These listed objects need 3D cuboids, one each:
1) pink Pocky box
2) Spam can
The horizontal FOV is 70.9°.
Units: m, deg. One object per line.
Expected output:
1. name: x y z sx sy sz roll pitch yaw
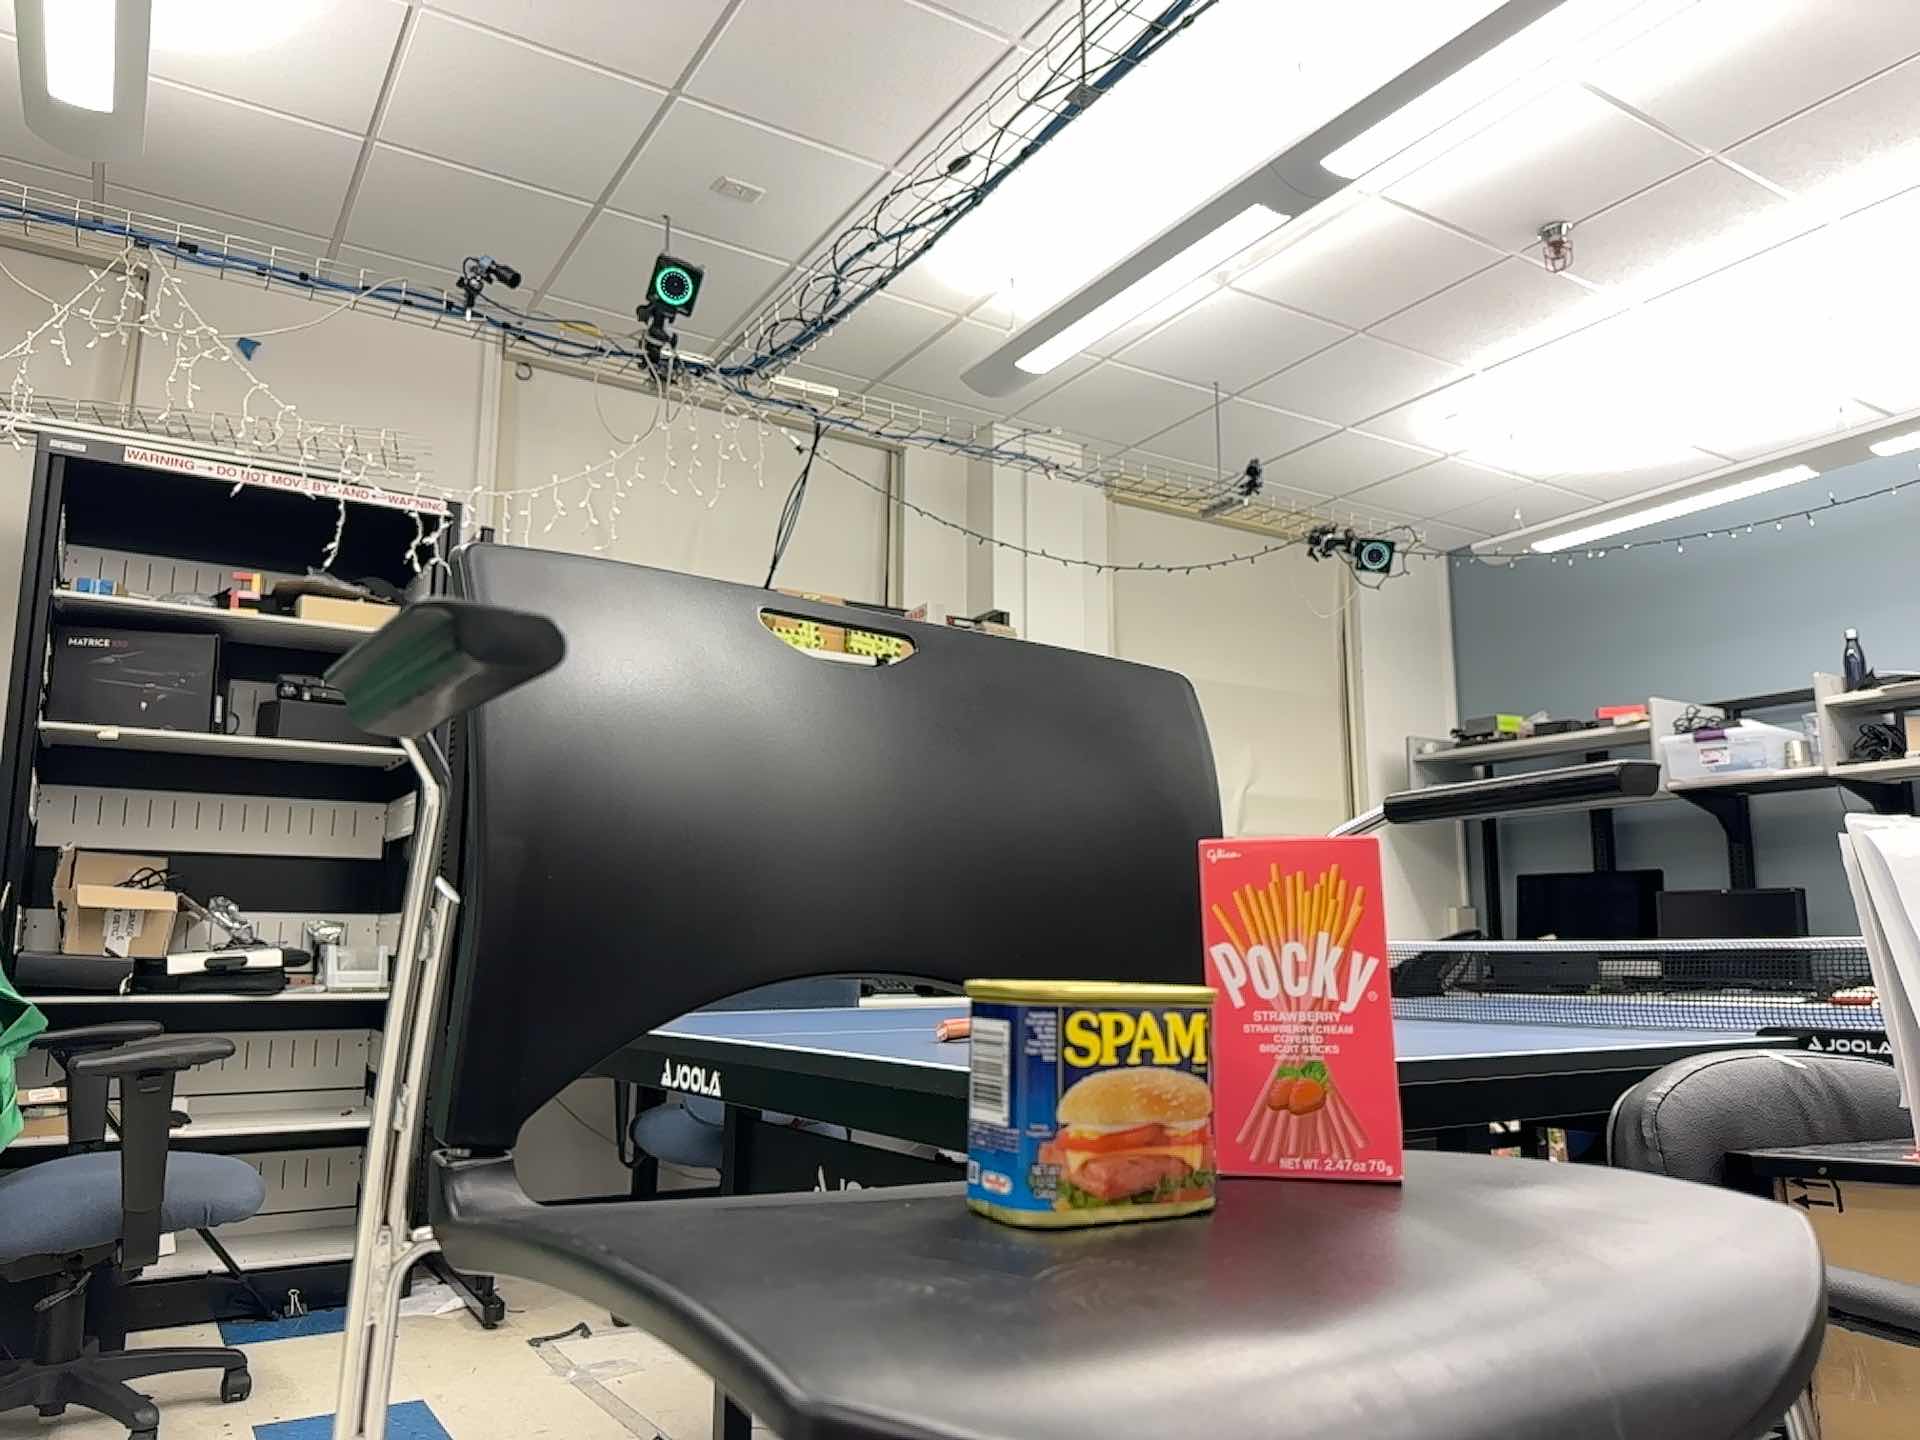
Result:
1. pink Pocky box: 0.155 0.130 0.621 0.084 0.155 0.029 -5 -8 16
2. Spam can: 0.050 0.147 0.527 0.100 0.083 0.056 6 -10 -27
